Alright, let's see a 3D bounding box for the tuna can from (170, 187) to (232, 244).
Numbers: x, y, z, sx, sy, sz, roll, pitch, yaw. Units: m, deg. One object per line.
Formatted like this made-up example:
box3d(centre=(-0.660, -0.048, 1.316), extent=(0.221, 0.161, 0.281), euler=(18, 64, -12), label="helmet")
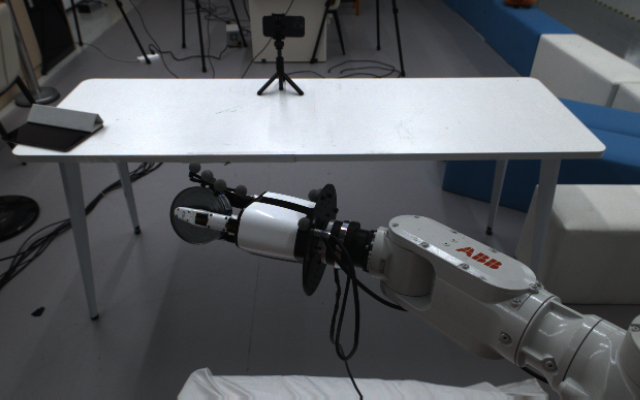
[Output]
box3d(centre=(-0.173, 0.023, 0.715), extent=(0.085, 0.085, 0.034), euler=(10, 4, 11), label="tuna can")
